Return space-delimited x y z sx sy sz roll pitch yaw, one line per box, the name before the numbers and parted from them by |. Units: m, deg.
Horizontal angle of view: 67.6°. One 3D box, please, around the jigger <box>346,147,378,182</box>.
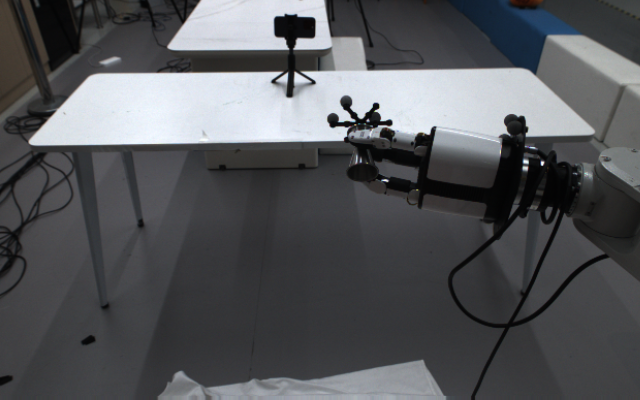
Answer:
jigger | 0.057 -0.068 0.656 0.043 0.043 0.071 2 58 -1
